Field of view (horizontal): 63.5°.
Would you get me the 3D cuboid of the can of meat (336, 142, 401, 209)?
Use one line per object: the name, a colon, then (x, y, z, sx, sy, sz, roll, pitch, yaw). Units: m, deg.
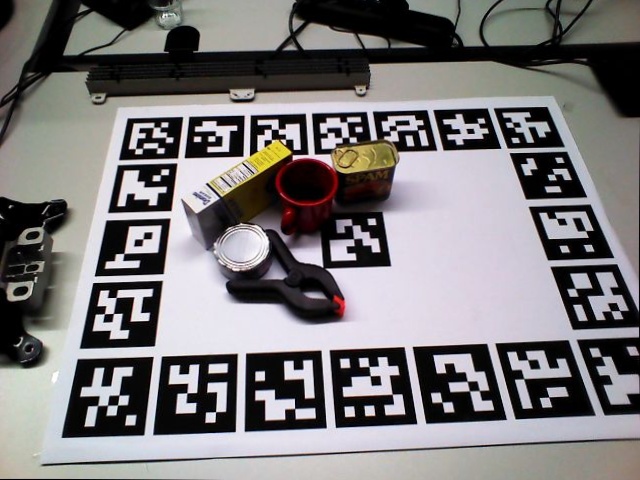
can of meat: (0.075, -0.099, 0.803, 0.102, 0.084, 0.057, -9, 57, -8)

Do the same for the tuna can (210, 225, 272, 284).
tuna can: (-0.113, 0.023, 0.746, 0.086, 0.034, 0.085, 0, 59, 0)

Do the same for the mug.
mug: (-0.022, -0.056, 0.766, 0.093, 0.082, 0.116, 19, 61, 10)

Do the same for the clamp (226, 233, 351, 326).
clamp: (-0.032, 0.069, 0.724, 0.165, 0.037, 0.121, 30, 58, 12)

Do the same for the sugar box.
sugar box: (-0.115, -0.062, 0.773, 0.175, 0.093, 0.045, -36, 63, -22)
